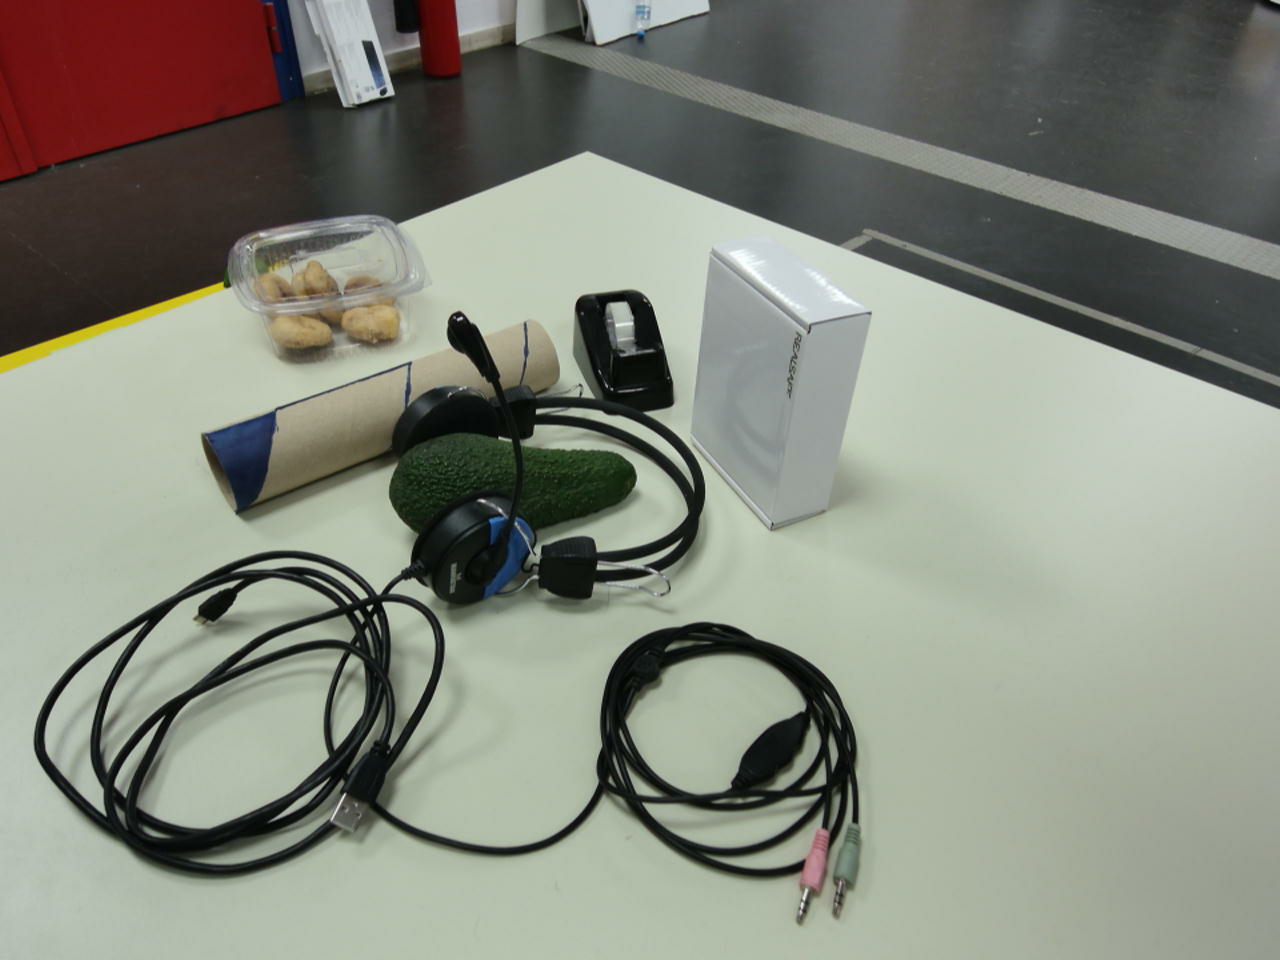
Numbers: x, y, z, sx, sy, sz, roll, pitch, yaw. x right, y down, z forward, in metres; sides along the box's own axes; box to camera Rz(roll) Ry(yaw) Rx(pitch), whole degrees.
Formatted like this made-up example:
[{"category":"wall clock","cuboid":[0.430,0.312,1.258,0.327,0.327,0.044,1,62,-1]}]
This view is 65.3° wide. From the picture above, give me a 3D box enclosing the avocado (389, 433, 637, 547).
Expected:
[{"category":"avocado","cuboid":[-0.071,-0.005,0.562,0.141,0.067,0.063,-22,43,-27]}]
